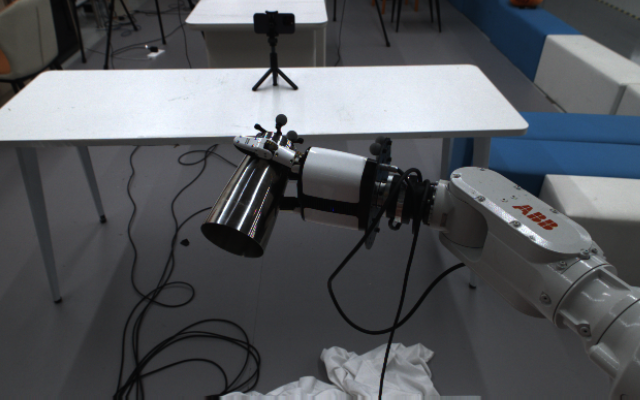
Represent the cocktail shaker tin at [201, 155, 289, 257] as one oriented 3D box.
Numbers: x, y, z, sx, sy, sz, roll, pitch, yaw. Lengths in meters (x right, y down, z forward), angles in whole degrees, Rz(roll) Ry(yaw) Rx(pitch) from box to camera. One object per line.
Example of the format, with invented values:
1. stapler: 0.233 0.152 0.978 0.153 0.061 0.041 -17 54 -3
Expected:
1. cocktail shaker tin: -0.093 -0.017 0.694 0.093 0.093 0.170 13 59 16
